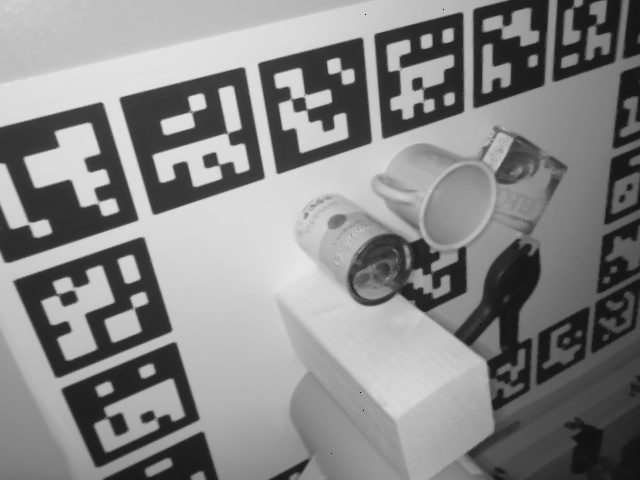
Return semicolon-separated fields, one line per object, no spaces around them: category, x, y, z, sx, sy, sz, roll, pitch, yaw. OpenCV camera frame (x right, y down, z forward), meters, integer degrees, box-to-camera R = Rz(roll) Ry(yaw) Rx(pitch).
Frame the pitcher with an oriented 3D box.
pitcher;0.037;0.198;0.632;0.191;0.241;0.132;-19;123;-24

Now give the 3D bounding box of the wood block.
wood block;0.042;0.078;0.598;0.091;0.205;0.090;-18;121;-17

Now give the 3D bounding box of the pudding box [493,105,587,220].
pudding box;0.223;-0.080;0.736;0.115;0.038;0.089;23;97;-36

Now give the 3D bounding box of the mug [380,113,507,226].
mug;0.103;-0.073;0.641;0.118;0.081;0.093;21;104;-36

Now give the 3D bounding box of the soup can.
soup can;0.026;-0.025;0.605;0.069;0.101;0.067;-11;115;-24

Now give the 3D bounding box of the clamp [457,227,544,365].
clamp;0.216;0.065;0.806;0.123;0.036;0.164;15;104;-27
